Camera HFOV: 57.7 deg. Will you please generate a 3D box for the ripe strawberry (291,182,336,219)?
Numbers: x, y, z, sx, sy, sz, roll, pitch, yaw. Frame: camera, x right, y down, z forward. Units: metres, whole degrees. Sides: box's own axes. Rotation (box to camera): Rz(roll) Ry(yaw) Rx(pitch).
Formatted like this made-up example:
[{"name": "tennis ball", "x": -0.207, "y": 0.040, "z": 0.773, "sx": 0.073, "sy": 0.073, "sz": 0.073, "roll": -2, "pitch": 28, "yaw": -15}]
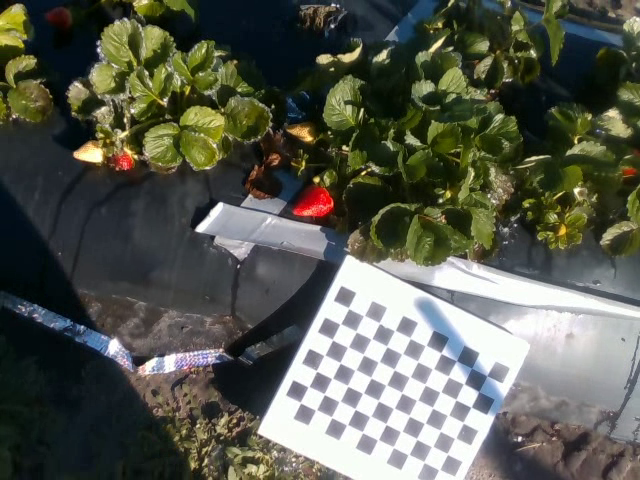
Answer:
[{"name": "ripe strawberry", "x": -0.015, "y": -0.046, "z": 0.829, "sx": 0.057, "sy": 0.062, "sz": 0.065, "roll": -25, "pitch": 9, "yaw": 43}]
